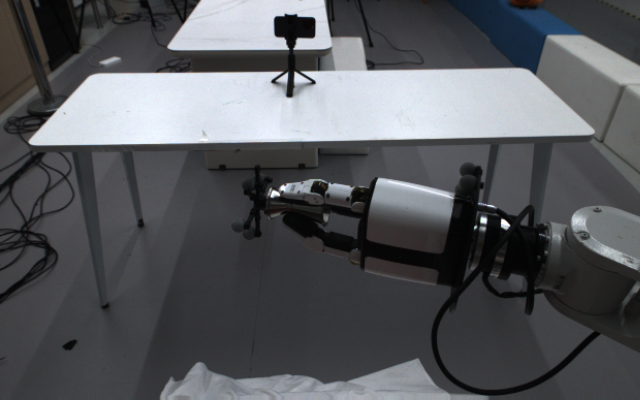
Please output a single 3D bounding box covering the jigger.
[{"bbox_3d":[-0.018,0.002,0.566,0.071,0.043,0.043,4,34,12],"label":"jigger"}]
